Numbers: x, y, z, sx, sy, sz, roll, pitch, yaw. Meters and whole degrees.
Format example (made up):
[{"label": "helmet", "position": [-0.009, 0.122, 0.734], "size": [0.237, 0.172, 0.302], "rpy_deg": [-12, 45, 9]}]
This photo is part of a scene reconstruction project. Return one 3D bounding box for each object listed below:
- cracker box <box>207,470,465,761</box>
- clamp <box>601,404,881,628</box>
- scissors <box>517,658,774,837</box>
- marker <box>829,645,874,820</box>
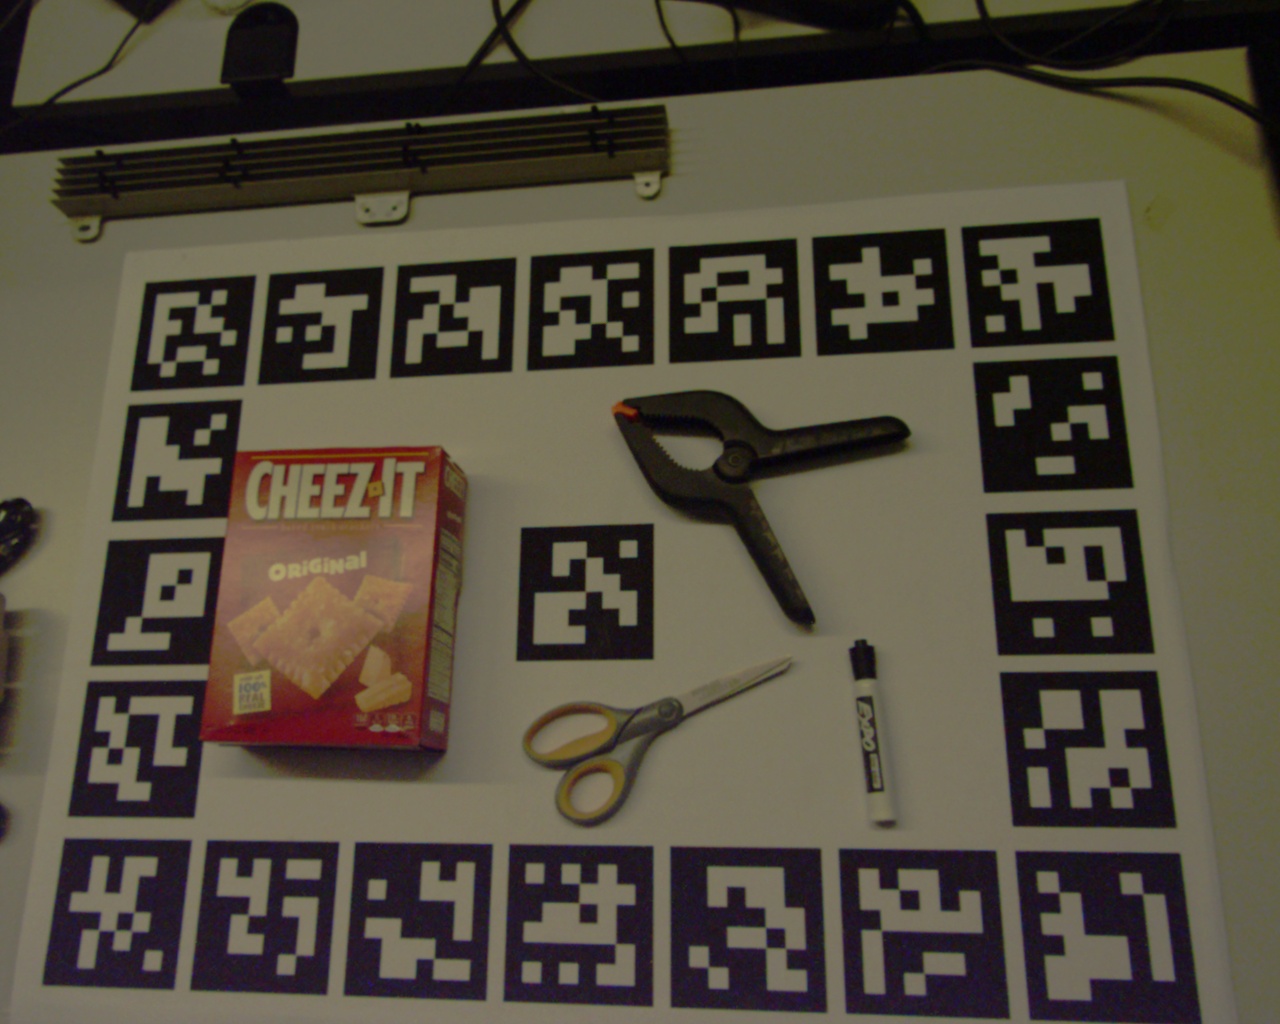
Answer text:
[{"label": "cracker box", "position": [-0.226, 0.078, 0.863], "size": [0.165, 0.071, 0.214], "rpy_deg": [-1, 73, 9]}, {"label": "clamp", "position": [0.058, -0.026, 0.879], "size": [0.204, 0.036, 0.165], "rpy_deg": [28, 78, 16]}, {"label": "scissors", "position": [0.007, 0.154, 0.826], "size": [0.202, 0.016, 0.088], "rpy_deg": [-29, 69, -3]}, {"label": "marker", "position": [0.148, 0.154, 0.802], "size": [0.020, 0.019, 0.121], "rpy_deg": [-6, 71, 7]}]
